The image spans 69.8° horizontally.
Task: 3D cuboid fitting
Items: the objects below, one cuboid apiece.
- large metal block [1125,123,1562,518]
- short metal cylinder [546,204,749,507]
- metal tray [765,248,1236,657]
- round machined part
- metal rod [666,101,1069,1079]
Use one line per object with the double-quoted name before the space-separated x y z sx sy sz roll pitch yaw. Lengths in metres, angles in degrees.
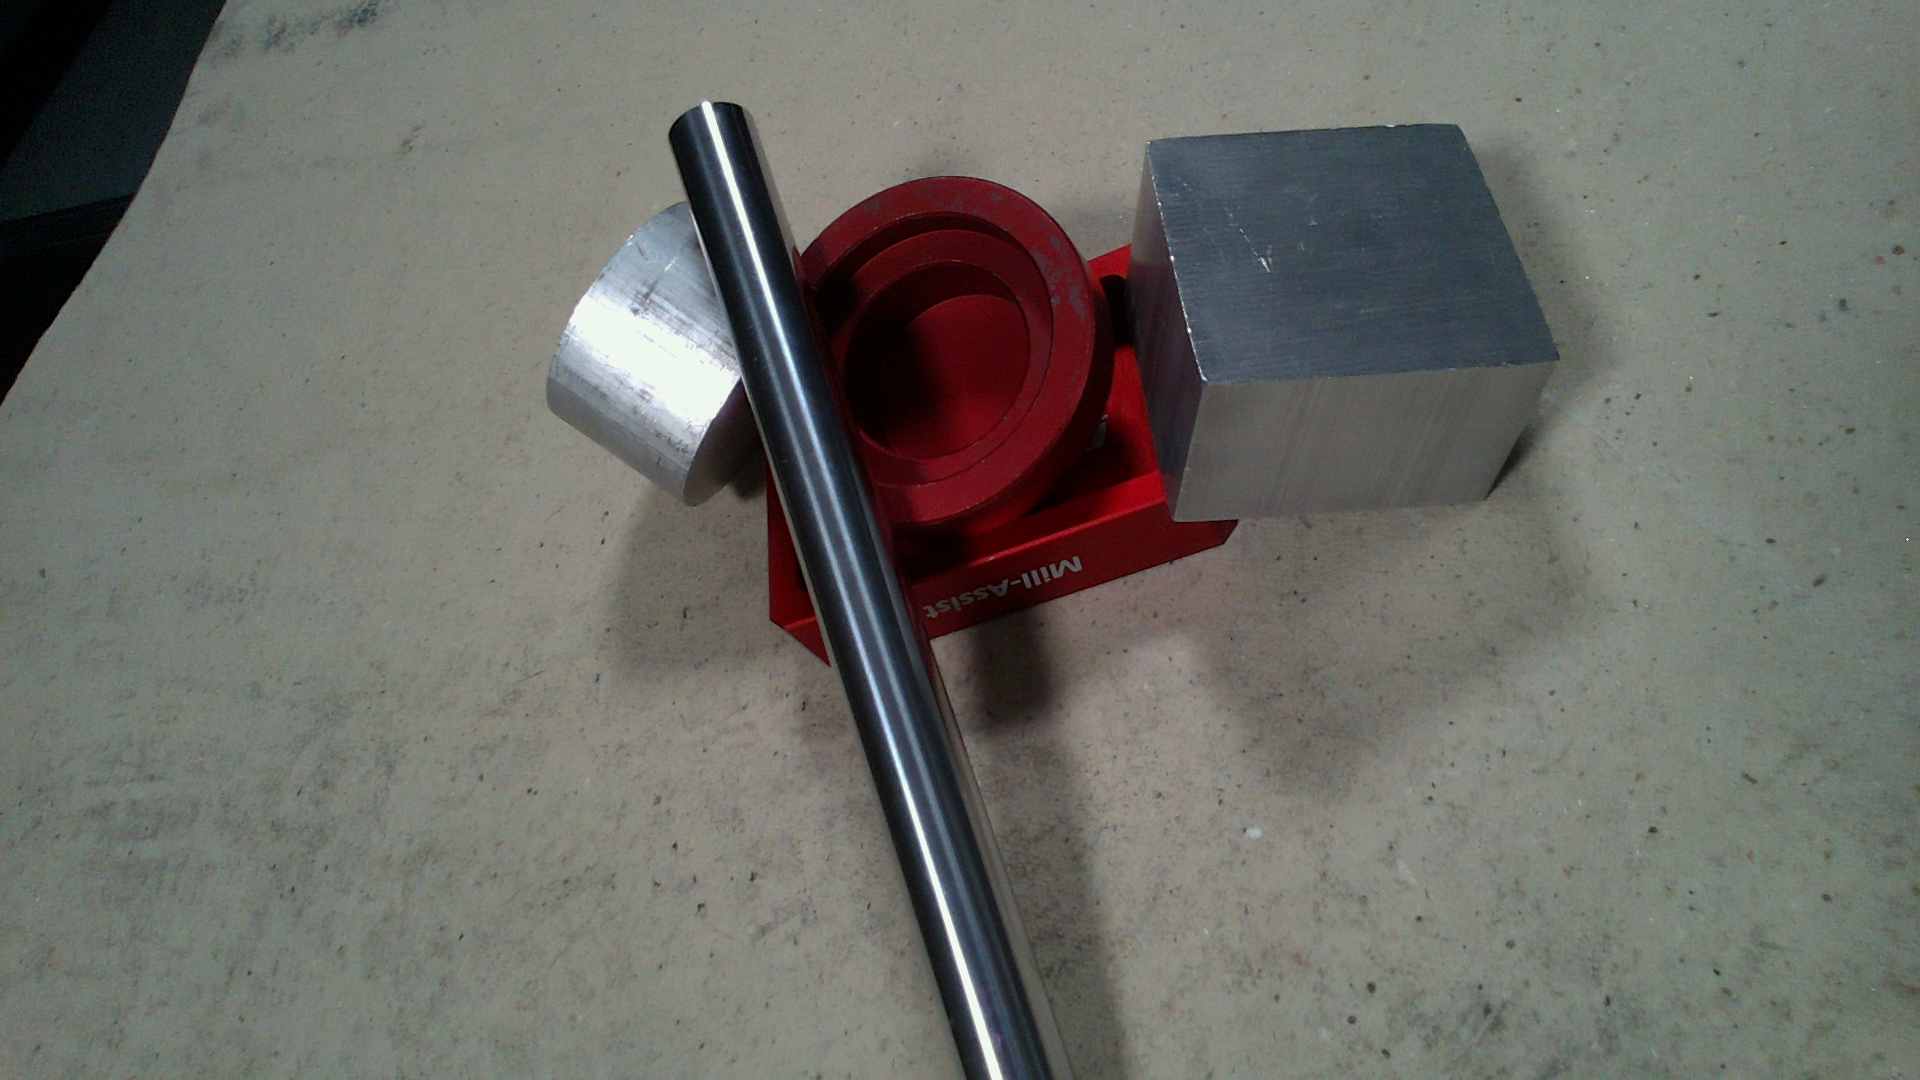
"large metal block" 0.088 -0.055 0.342 0.080 0.050 0.080 -4 56 -4
"short metal cylinder" -0.083 -0.057 0.430 0.050 0.080 0.080 34 79 3
"metal tray" 0.006 -0.024 0.402 0.130 0.030 0.090 -19 54 17
"round machined part" -0.004 -0.048 0.384 0.098 0.042 0.098 -6 74 23
"metal rod" -0.024 0.018 0.340 0.025 0.025 0.300 -24 70 14
